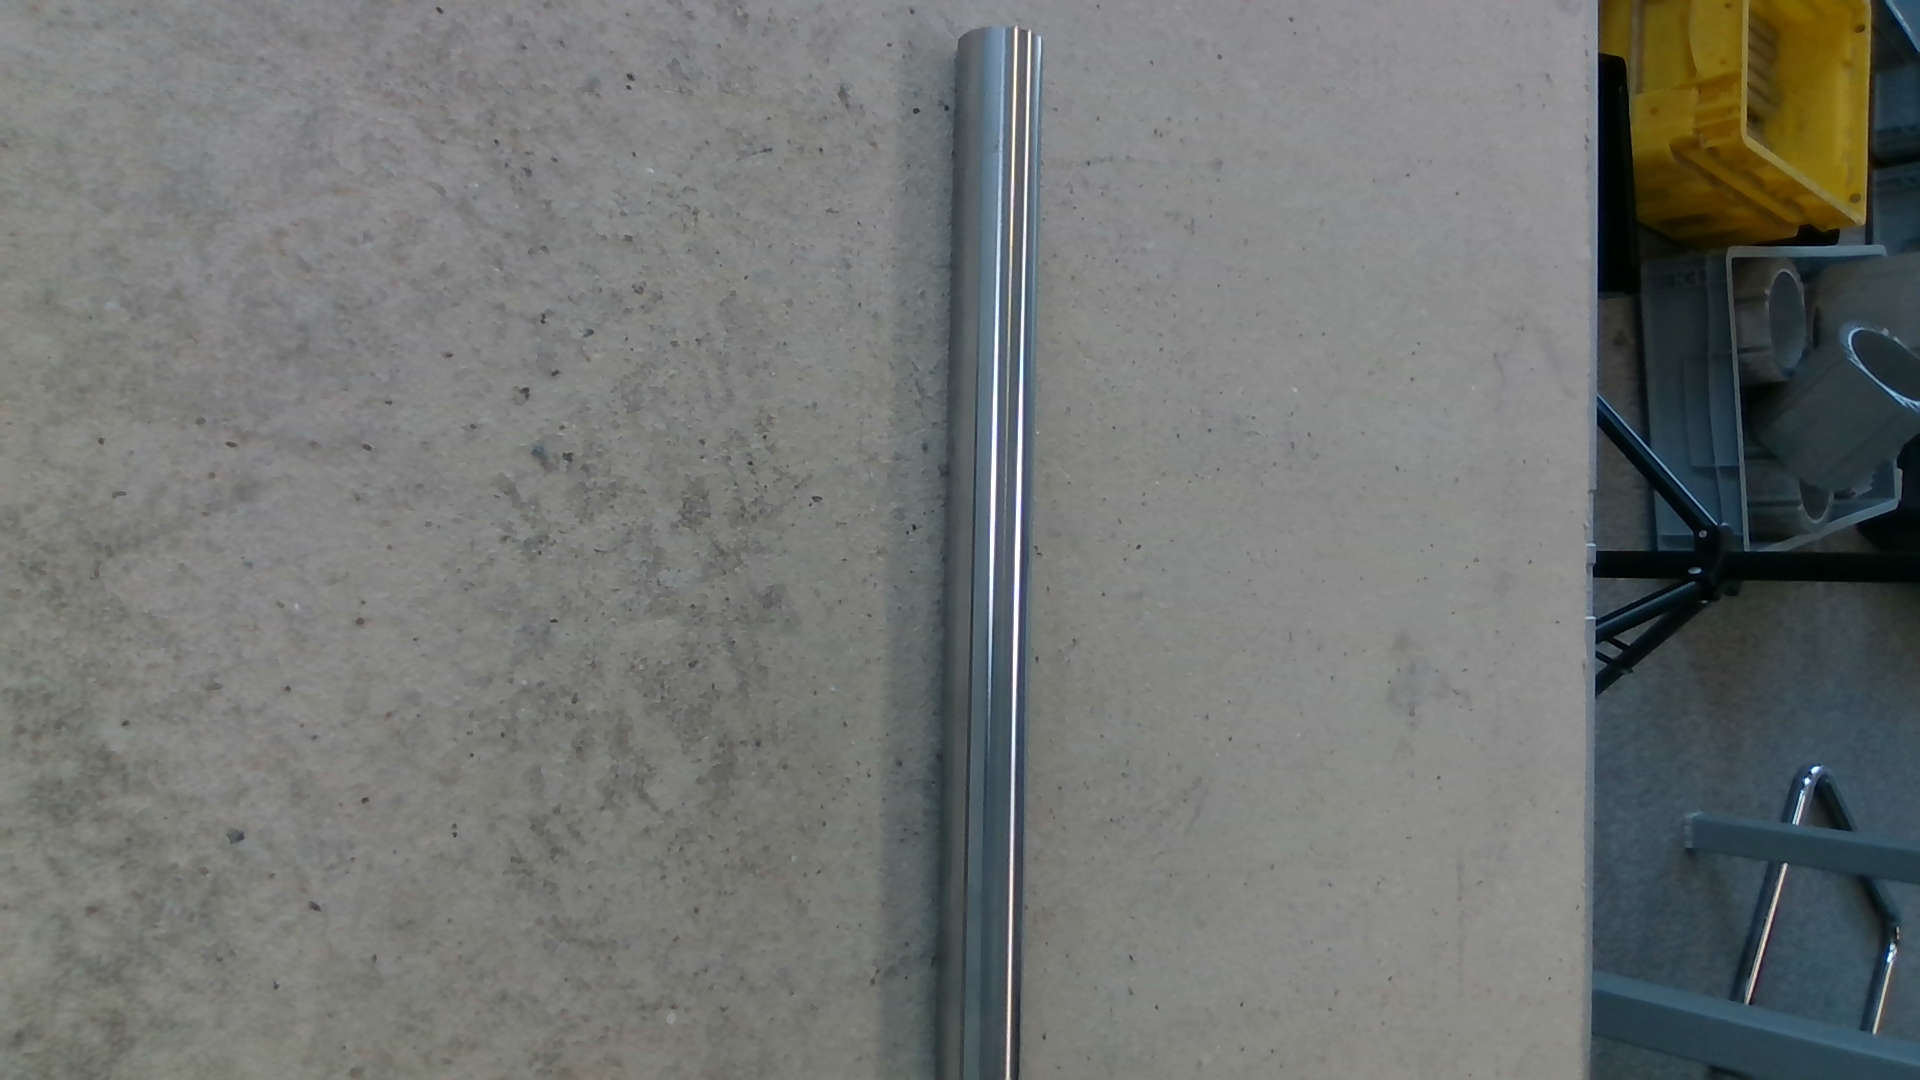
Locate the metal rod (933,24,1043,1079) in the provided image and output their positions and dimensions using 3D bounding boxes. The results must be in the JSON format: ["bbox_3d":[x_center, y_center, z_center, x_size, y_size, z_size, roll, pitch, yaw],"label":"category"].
[{"bbox_3d":[0.008,0.005,0.398,0.025,0.025,0.300,2,89,-40],"label":"metal rod"}]
